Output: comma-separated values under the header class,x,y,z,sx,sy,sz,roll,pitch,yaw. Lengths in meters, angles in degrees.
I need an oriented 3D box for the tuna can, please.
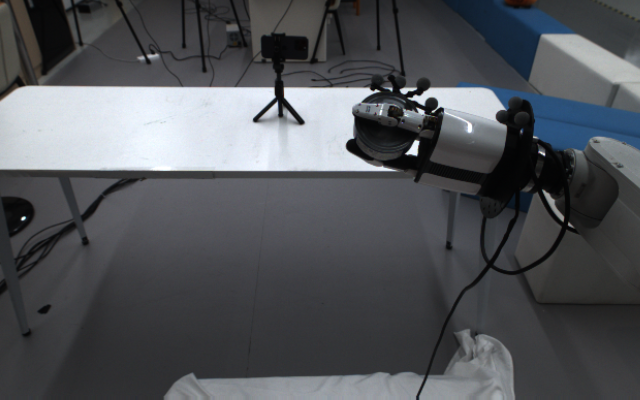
class,x,y,z,sx,sy,sz,roll,pitch,yaw
tuna can,0.087,-0.100,0.637,0.085,0.034,0.085,0,72,0
